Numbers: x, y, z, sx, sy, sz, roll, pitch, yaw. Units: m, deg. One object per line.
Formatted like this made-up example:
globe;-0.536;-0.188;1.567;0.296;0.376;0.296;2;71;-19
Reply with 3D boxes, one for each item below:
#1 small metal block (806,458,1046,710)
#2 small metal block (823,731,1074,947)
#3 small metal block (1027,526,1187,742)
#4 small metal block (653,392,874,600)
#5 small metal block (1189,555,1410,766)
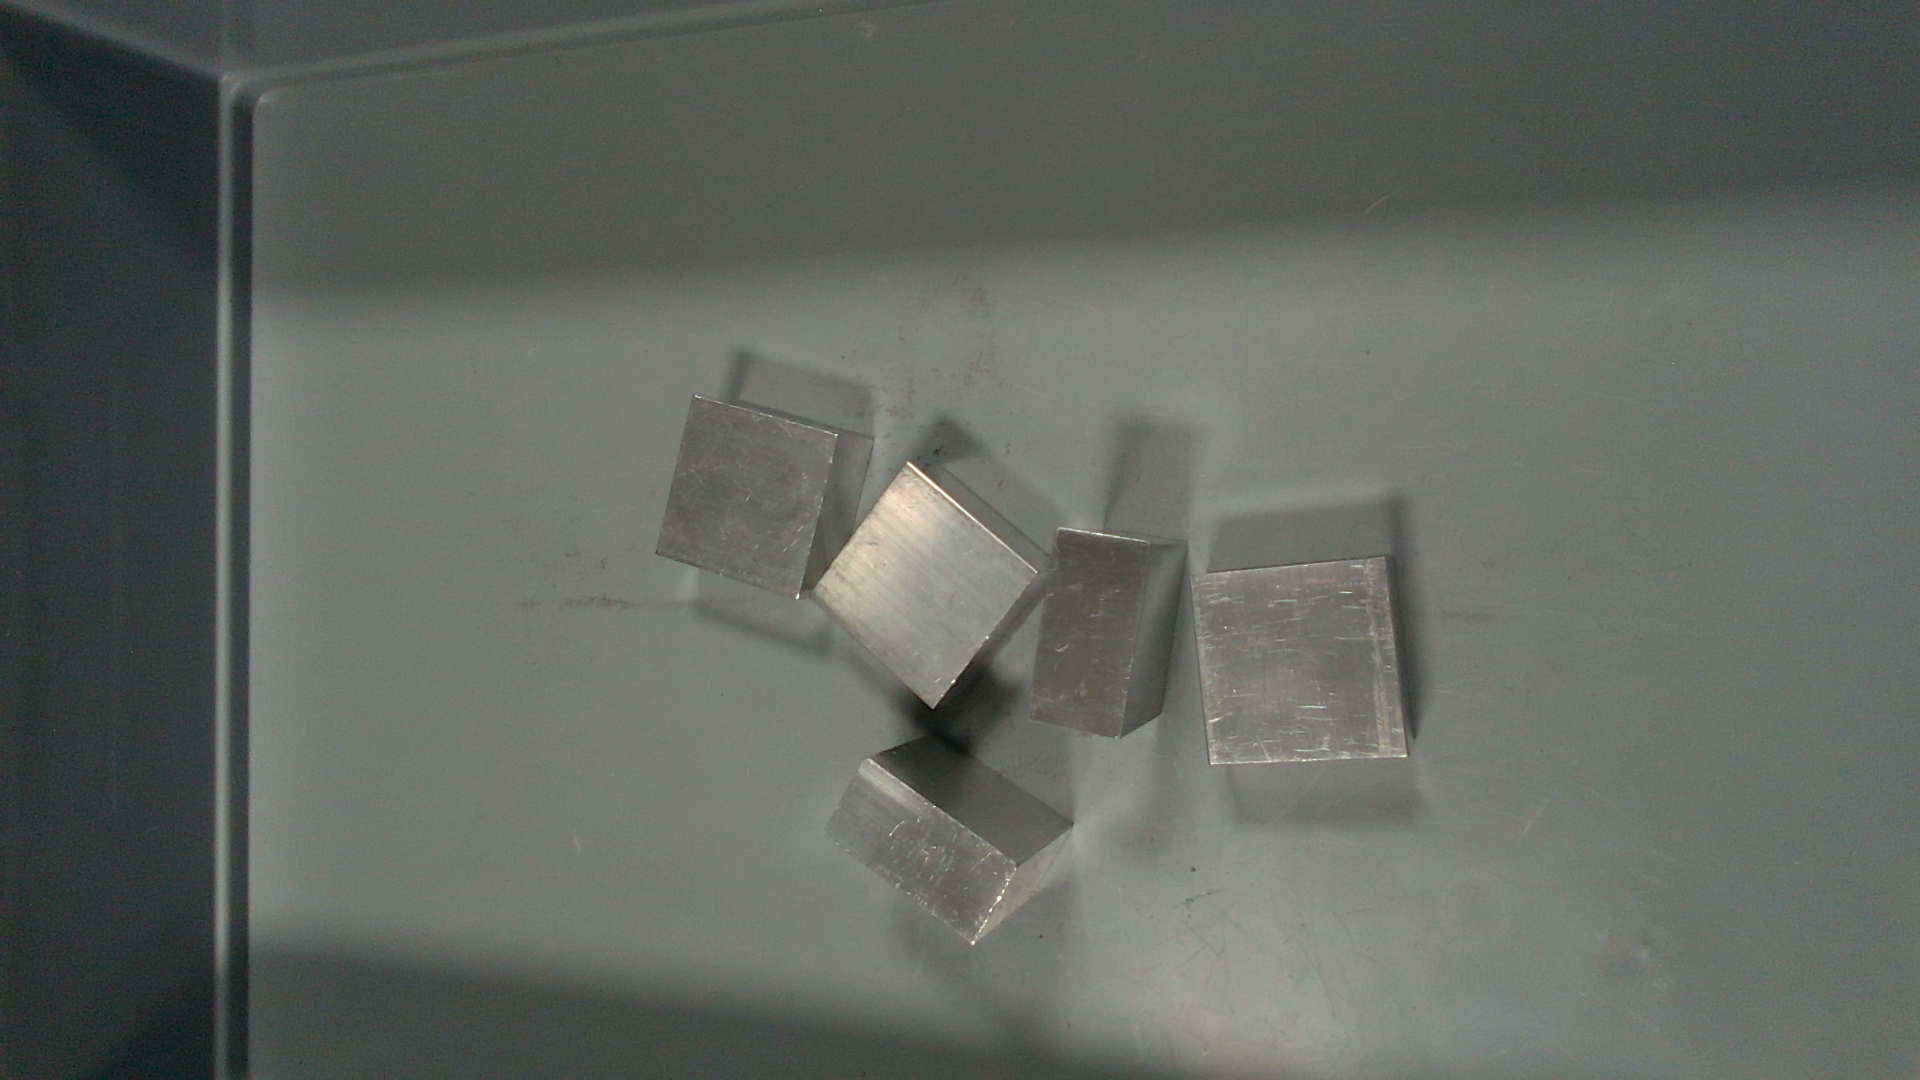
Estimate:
small metal block;-0.007;0.012;0.396;0.050;0.025;0.050;40;103;15
small metal block;-0.002;0.080;0.381;0.050;0.050;0.025;32;101;16
small metal block;0.041;0.023;0.367;0.025;0.050;0.050;10;93;19
small metal block;-0.059;-0.013;0.415;0.050;0.025;0.050;16;96;19
small metal block;0.090;0.031;0.362;0.050;0.025;0.050;-6;88;20
